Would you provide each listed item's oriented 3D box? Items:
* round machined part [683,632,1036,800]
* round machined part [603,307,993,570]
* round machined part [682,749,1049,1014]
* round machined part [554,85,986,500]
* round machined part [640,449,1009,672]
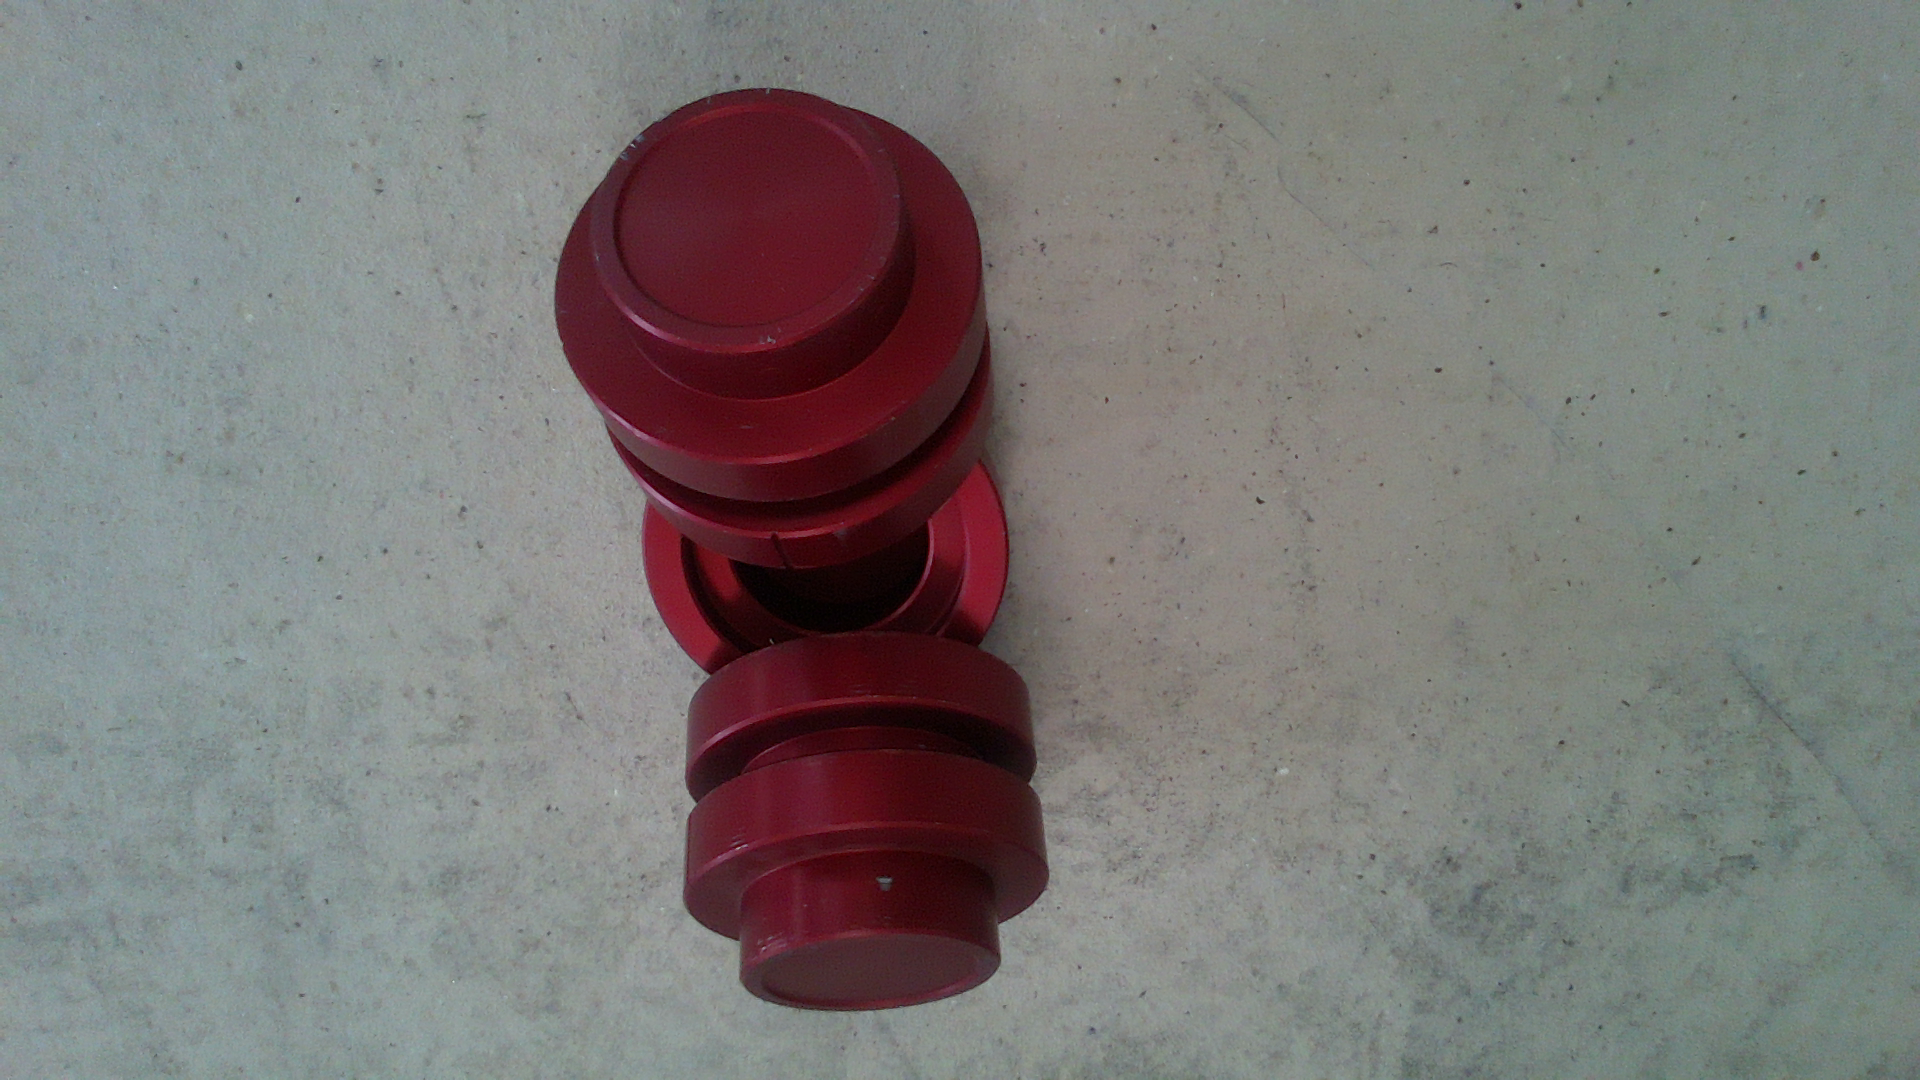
[{"bbox_3d":[-0.027,0.068,0.384,0.098,0.042,0.098,-4,147,-2],"label":"round machined part"},{"bbox_3d":[-0.041,-0.045,0.339,0.098,0.042,0.098,-1,67,3],"label":"round machined part"},{"bbox_3d":[-0.025,0.096,0.369,0.098,0.042,0.098,-4,146,-2],"label":"round machined part"},{"bbox_3d":[-0.044,-0.062,0.311,0.098,0.042,0.098,-1,67,4],"label":"round machined part"},{"bbox_3d":[-0.036,-0.004,0.384,0.098,0.042,0.098,0,110,0],"label":"round machined part"}]
